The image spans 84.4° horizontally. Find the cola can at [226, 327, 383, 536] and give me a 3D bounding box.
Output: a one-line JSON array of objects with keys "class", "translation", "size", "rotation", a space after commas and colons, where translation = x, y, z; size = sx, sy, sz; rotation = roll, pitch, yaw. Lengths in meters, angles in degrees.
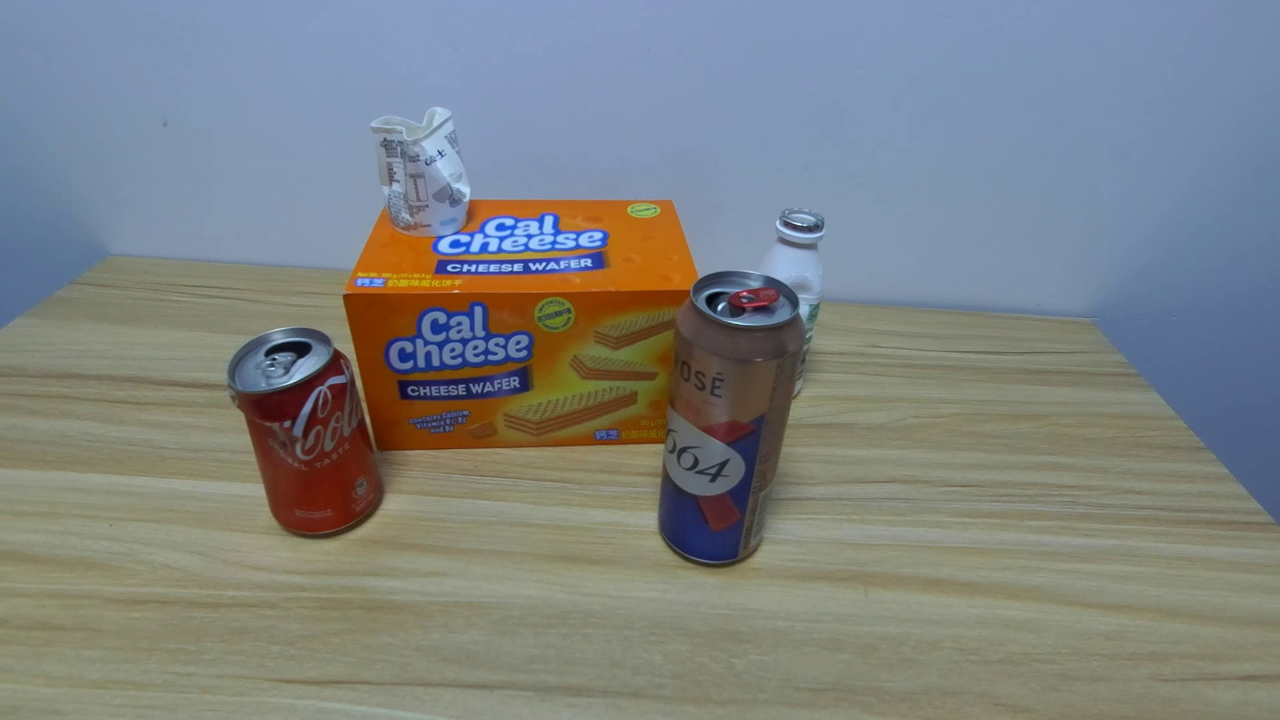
[{"class": "cola can", "translation": [-0.190, 0.043, 0.411], "size": [0.066, 0.117, 0.072], "rotation": [-26, 44, -36]}]

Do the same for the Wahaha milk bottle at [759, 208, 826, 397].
[{"class": "Wahaha milk bottle", "translation": [0.106, -0.031, 0.528], "size": [0.053, 0.137, 0.053], "rotation": [4, 32, -3]}]

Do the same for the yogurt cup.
[{"class": "yogurt cup", "translation": [-0.147, -0.127, 0.478], "size": [0.055, 0.072, 0.055], "rotation": [29, 43, 29]}]

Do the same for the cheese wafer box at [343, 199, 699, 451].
[{"class": "cheese wafer box", "translation": [-0.077, -0.031, 0.520], "size": [0.222, 0.129, 0.148], "rotation": [-1, 36, -6]}]

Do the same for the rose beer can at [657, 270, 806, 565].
[{"class": "rose beer can", "translation": [0.048, 0.038, 0.395], "size": [0.068, 0.169, 0.068], "rotation": [2, 35, -1]}]
